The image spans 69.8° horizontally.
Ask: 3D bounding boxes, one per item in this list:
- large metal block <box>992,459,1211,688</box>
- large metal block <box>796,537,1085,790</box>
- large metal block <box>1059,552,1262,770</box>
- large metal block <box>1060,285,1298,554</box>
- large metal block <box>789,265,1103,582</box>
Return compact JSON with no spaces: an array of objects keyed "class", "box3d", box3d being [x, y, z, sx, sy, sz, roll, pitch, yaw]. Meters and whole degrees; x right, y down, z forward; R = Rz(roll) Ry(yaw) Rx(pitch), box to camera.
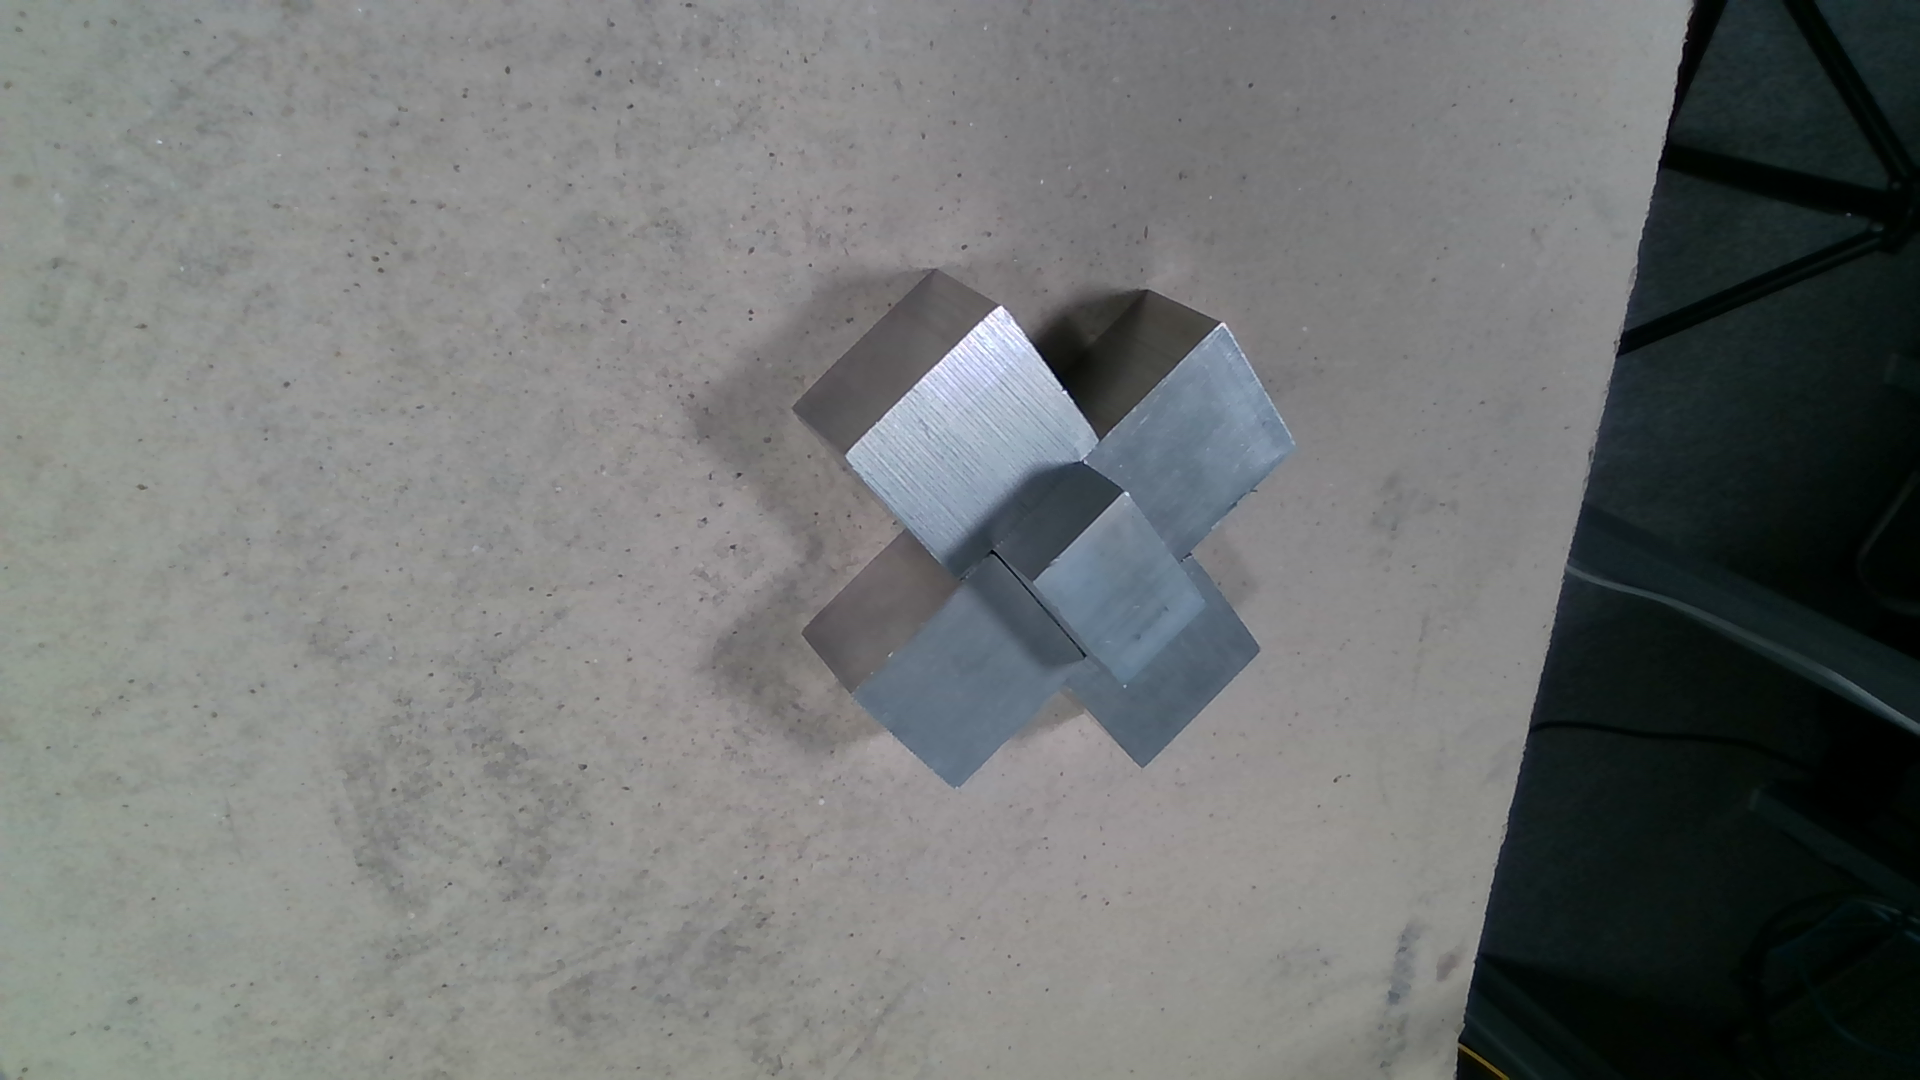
[{"class":"large metal block","box3d":[0.047,0.004,0.576,0.050,0.080,0.080,-45,129,-3]},{"class":"large metal block","box3d":[-0.007,0.045,0.584,0.080,0.050,0.080,-45,129,-3]},{"class":"large metal block","box3d":[0.081,0.046,0.638,0.080,0.050,0.080,-45,129,-3]},{"class":"large metal block","box3d":[0.086,-0.047,0.591,0.080,0.050,0.080,-45,129,-3]},{"class":"large metal block","box3d":[-0.005,-0.045,0.536,0.080,0.050,0.080,-45,129,-3]}]
